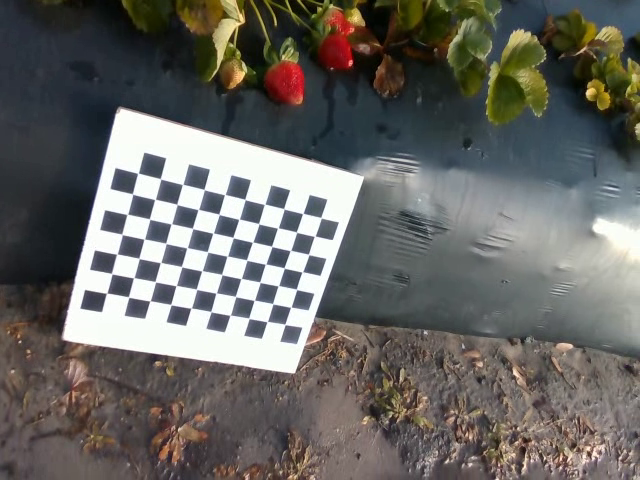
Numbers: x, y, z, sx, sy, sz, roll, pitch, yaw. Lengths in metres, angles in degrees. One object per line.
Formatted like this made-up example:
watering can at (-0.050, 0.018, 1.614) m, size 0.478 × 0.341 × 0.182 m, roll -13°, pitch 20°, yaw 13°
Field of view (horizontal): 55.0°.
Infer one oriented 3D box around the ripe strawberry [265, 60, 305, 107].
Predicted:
ripe strawberry at (-0.038, -0.178, 0.683) m, size 0.050 × 0.065 × 0.049 m, roll -25°, pitch -31°, yaw -4°

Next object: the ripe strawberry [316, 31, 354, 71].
ripe strawberry at (0.020, -0.225, 0.727) m, size 0.055 × 0.044 × 0.042 m, roll 46°, pitch 5°, yaw 27°
